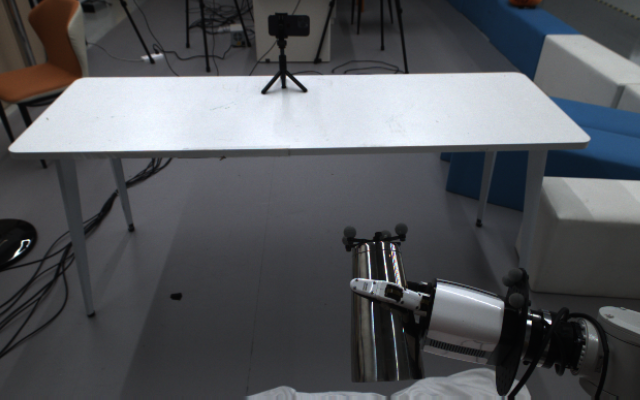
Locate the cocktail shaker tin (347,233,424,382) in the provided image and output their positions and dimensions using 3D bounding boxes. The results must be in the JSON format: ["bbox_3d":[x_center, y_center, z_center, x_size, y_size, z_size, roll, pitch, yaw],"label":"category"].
[{"bbox_3d":[0.081,0.144,0.627,0.093,0.093,0.170,-2,68,-5],"label":"cocktail shaker tin"}]
